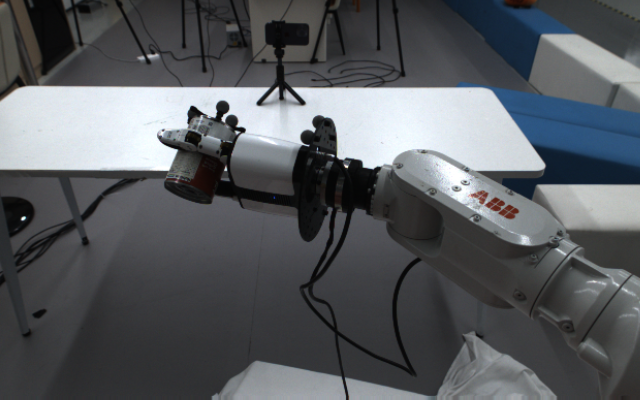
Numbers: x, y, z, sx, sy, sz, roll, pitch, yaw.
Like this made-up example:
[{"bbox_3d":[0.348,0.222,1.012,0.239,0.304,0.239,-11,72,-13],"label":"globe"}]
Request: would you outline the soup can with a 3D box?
[{"bbox_3d":[-0.160,-0.053,0.651,0.067,0.067,0.101,12,70,14],"label":"soup can"}]
